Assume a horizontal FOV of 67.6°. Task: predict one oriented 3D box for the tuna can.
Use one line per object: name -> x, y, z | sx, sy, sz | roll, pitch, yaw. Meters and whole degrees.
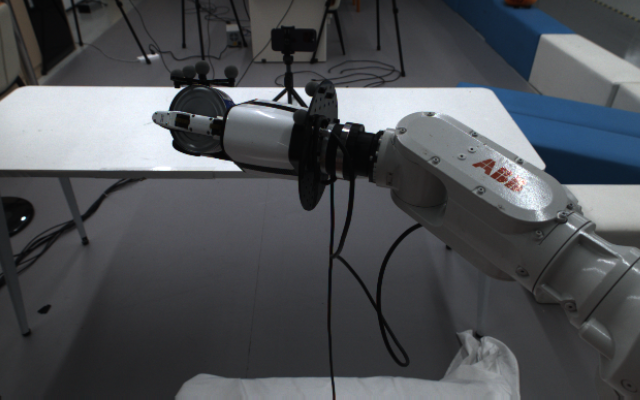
tuna can -> -0.148, -0.102, 0.623 | 0.085, 0.085, 0.034 | 15, 9, 17
